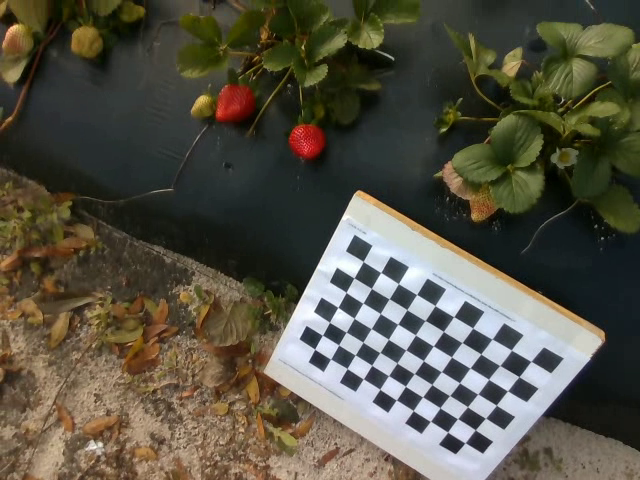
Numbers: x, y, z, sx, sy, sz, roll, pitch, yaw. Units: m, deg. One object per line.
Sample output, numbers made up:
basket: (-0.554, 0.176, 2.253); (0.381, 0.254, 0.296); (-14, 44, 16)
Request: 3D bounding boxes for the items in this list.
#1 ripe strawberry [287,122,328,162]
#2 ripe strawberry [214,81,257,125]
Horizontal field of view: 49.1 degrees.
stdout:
ripe strawberry: (-0.010, -0.075, 0.553); (0.034, 0.039, 0.037); (28, -48, -12)
ripe strawberry: (-0.072, -0.107, 0.563); (0.035, 0.036, 0.041); (19, -38, 20)
